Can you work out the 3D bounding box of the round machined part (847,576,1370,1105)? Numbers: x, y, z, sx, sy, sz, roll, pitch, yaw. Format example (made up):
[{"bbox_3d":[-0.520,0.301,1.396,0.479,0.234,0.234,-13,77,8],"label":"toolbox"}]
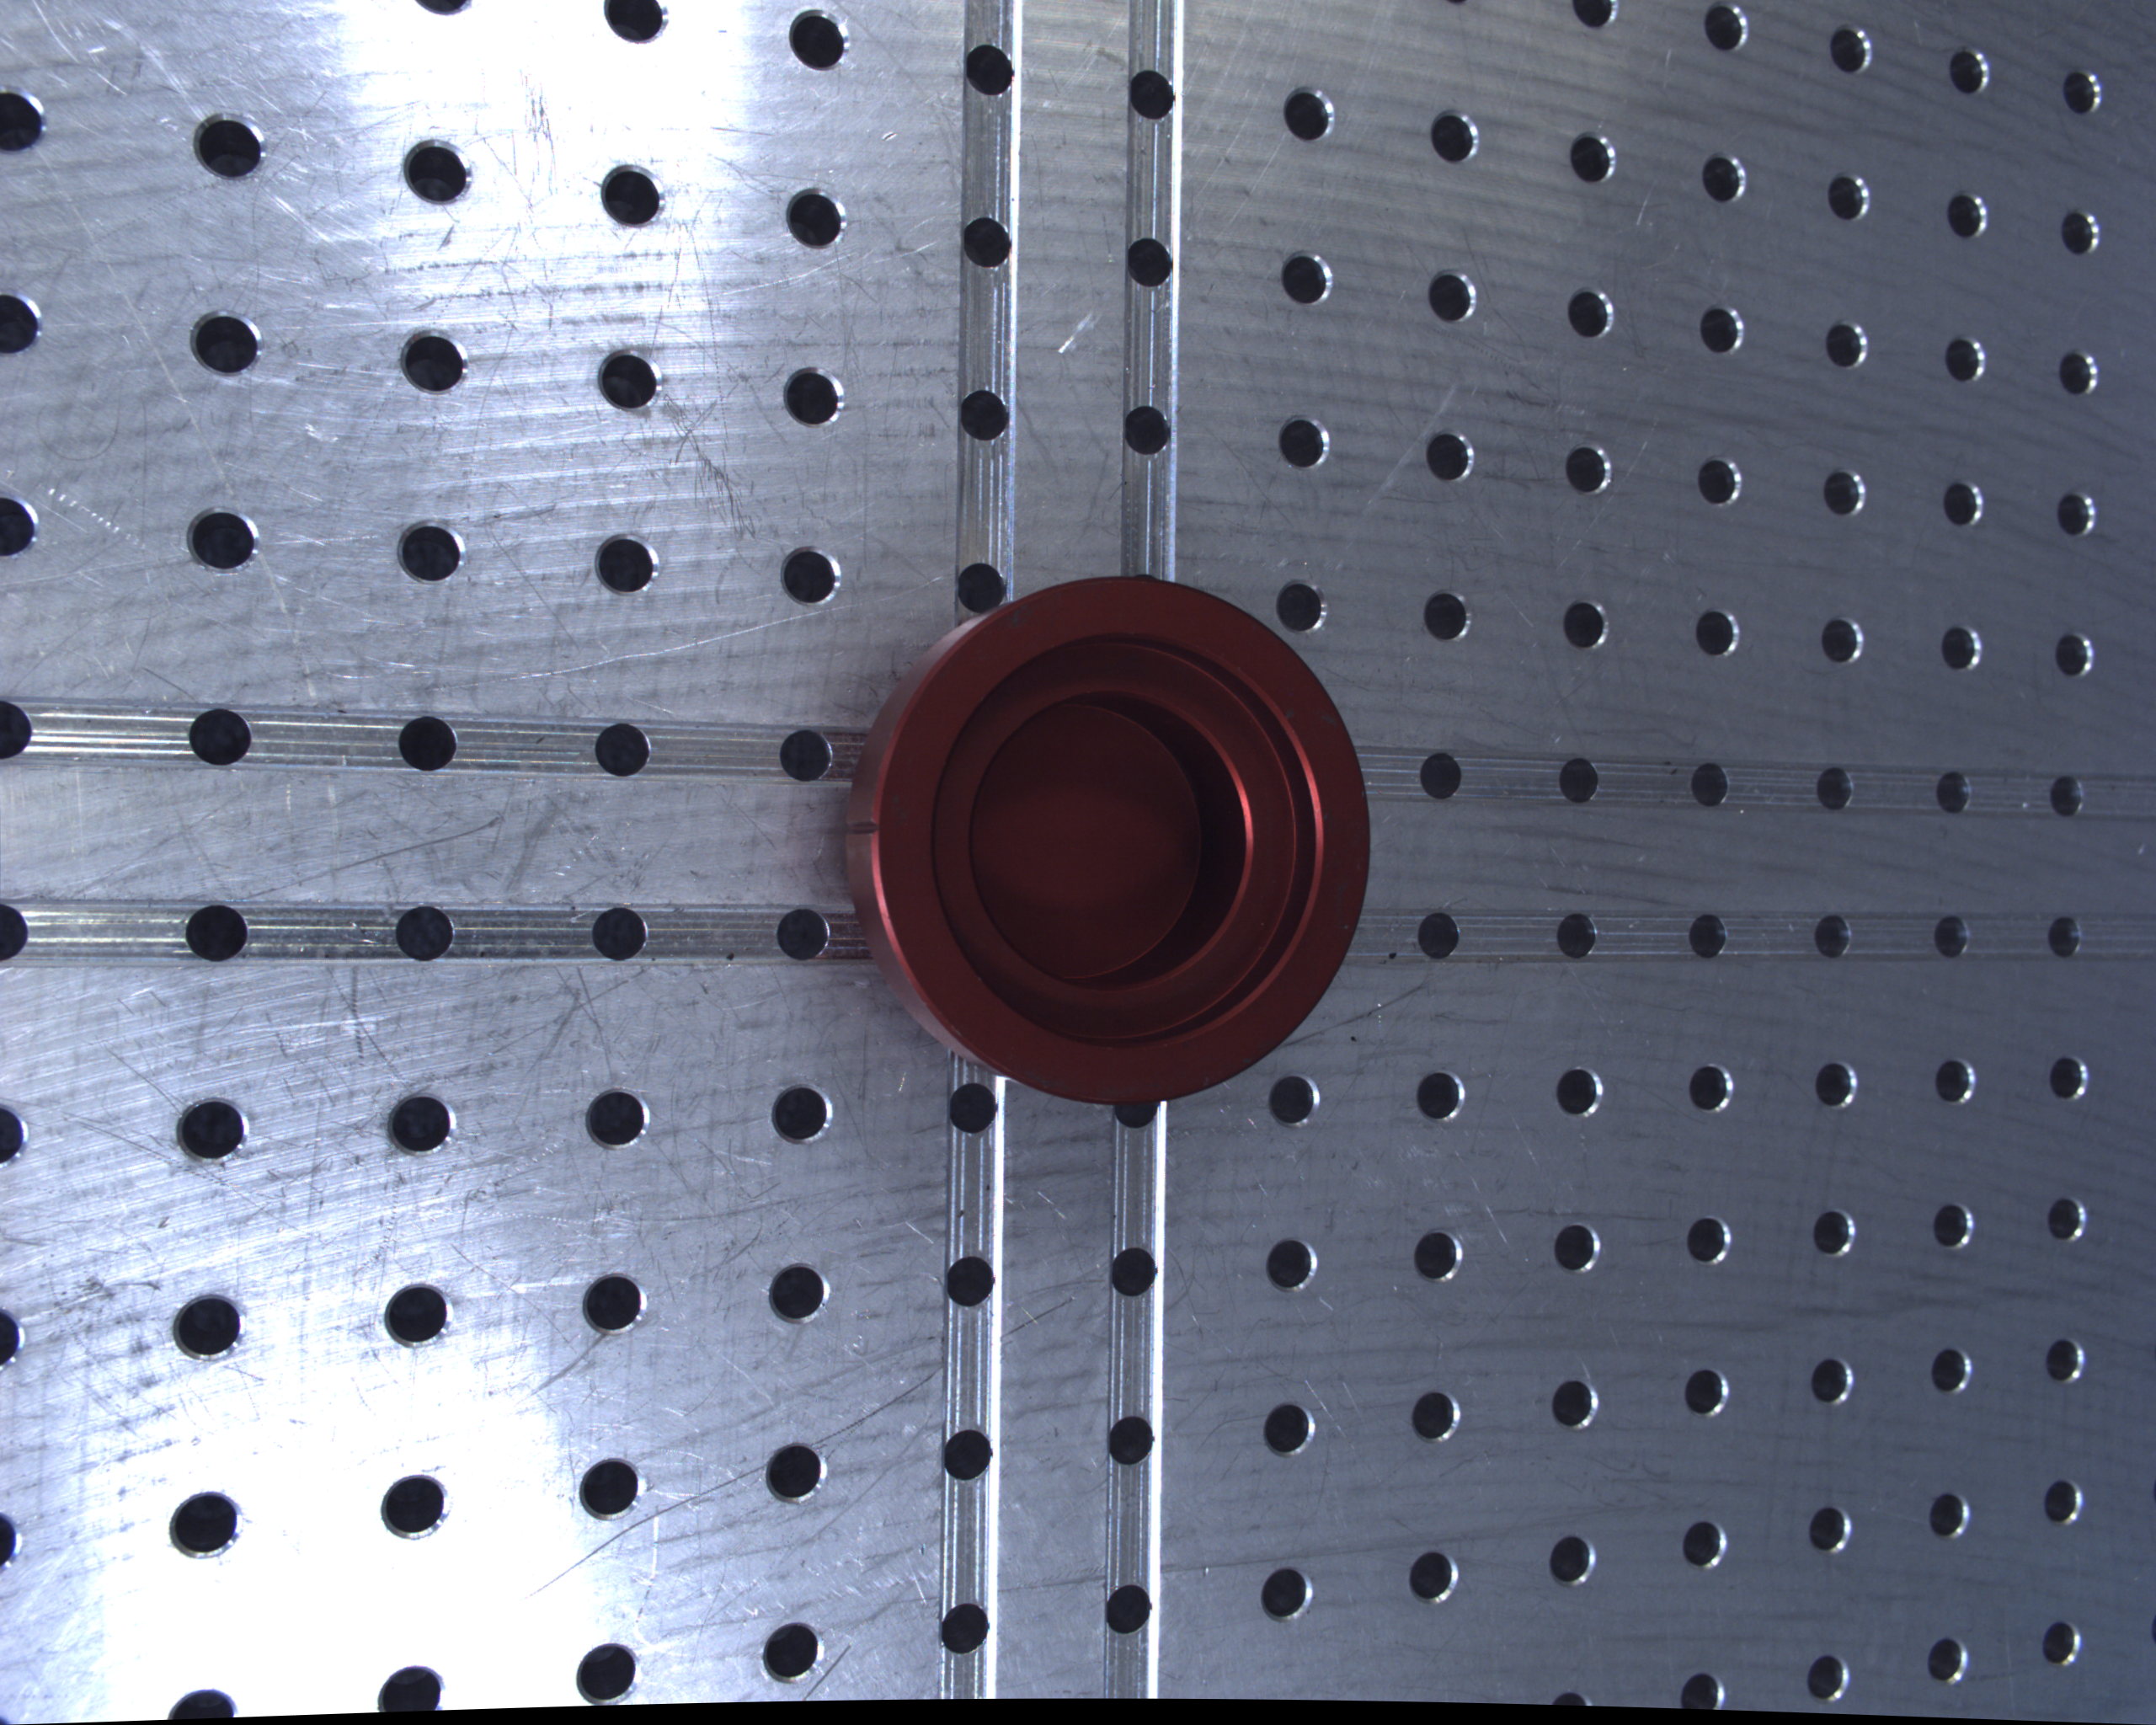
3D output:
[{"bbox_3d":[0.003,-0.004,0.404,0.099,0.042,0.097,0,90,-20],"label":"round machined part"}]
